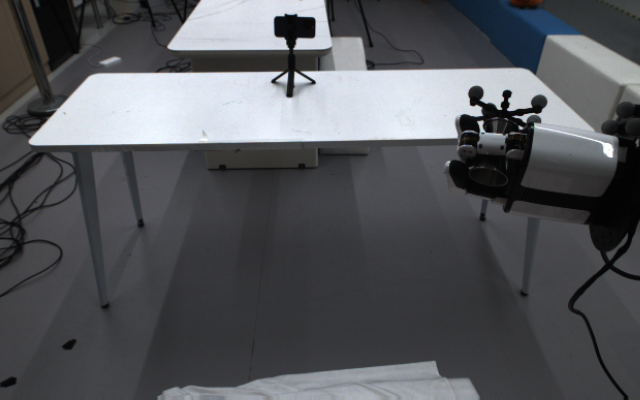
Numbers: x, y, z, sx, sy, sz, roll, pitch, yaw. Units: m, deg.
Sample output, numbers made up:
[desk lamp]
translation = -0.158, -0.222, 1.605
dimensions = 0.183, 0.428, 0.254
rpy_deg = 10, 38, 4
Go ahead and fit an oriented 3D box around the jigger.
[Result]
[jigger]
translation = 0.203, -0.056, 0.556
dimensions = 0.043, 0.043, 0.071
rpy_deg = 13, 69, 15
